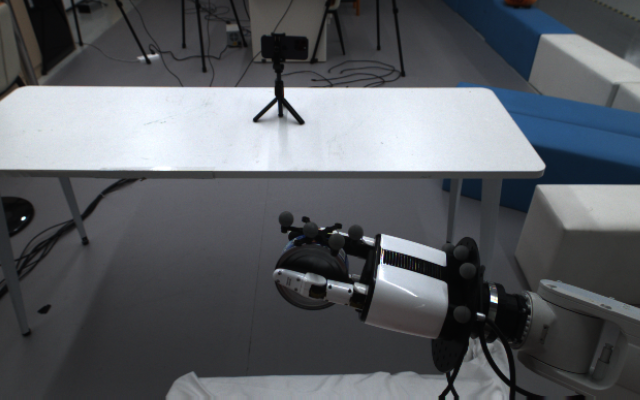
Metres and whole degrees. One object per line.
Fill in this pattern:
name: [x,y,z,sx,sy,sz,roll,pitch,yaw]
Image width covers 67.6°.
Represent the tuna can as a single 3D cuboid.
tuna can: [-0.007,0.082,0.565,0.085,0.085,0.034,5,18,4]
